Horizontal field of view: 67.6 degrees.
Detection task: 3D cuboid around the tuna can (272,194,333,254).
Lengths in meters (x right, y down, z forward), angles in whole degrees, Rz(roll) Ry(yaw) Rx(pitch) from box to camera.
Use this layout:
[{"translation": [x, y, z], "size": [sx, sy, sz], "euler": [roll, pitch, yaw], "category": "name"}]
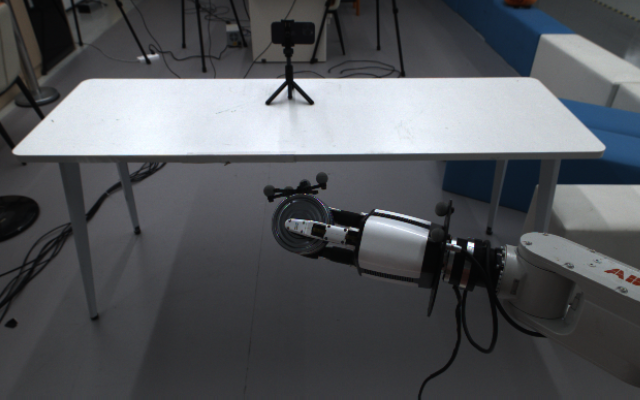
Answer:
[{"translation": [-0.023, 0.033, 0.684], "size": [0.085, 0.085, 0.034], "euler": [12, -6, 14], "category": "tuna can"}]
